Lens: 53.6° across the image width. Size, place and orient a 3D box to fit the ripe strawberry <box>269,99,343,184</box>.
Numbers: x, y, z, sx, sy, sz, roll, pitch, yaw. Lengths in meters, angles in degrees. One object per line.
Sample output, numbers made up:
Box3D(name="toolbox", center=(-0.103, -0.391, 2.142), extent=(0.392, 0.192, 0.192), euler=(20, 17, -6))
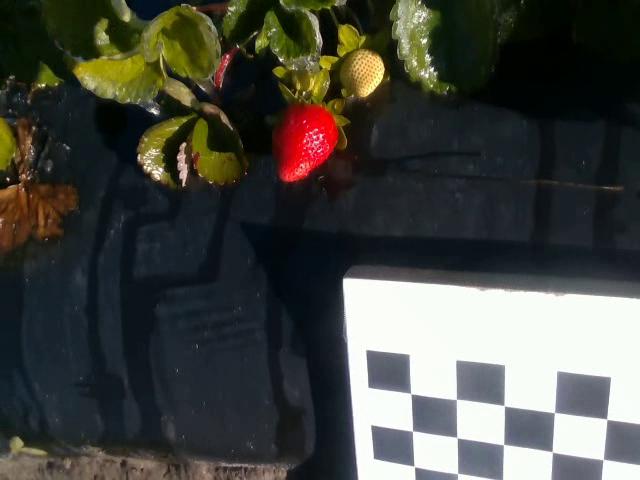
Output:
Box3D(name="ripe strawberry", center=(-0.007, -0.037, 0.270), extent=(0.039, 0.039, 0.040), euler=(-3, -45, 33))
